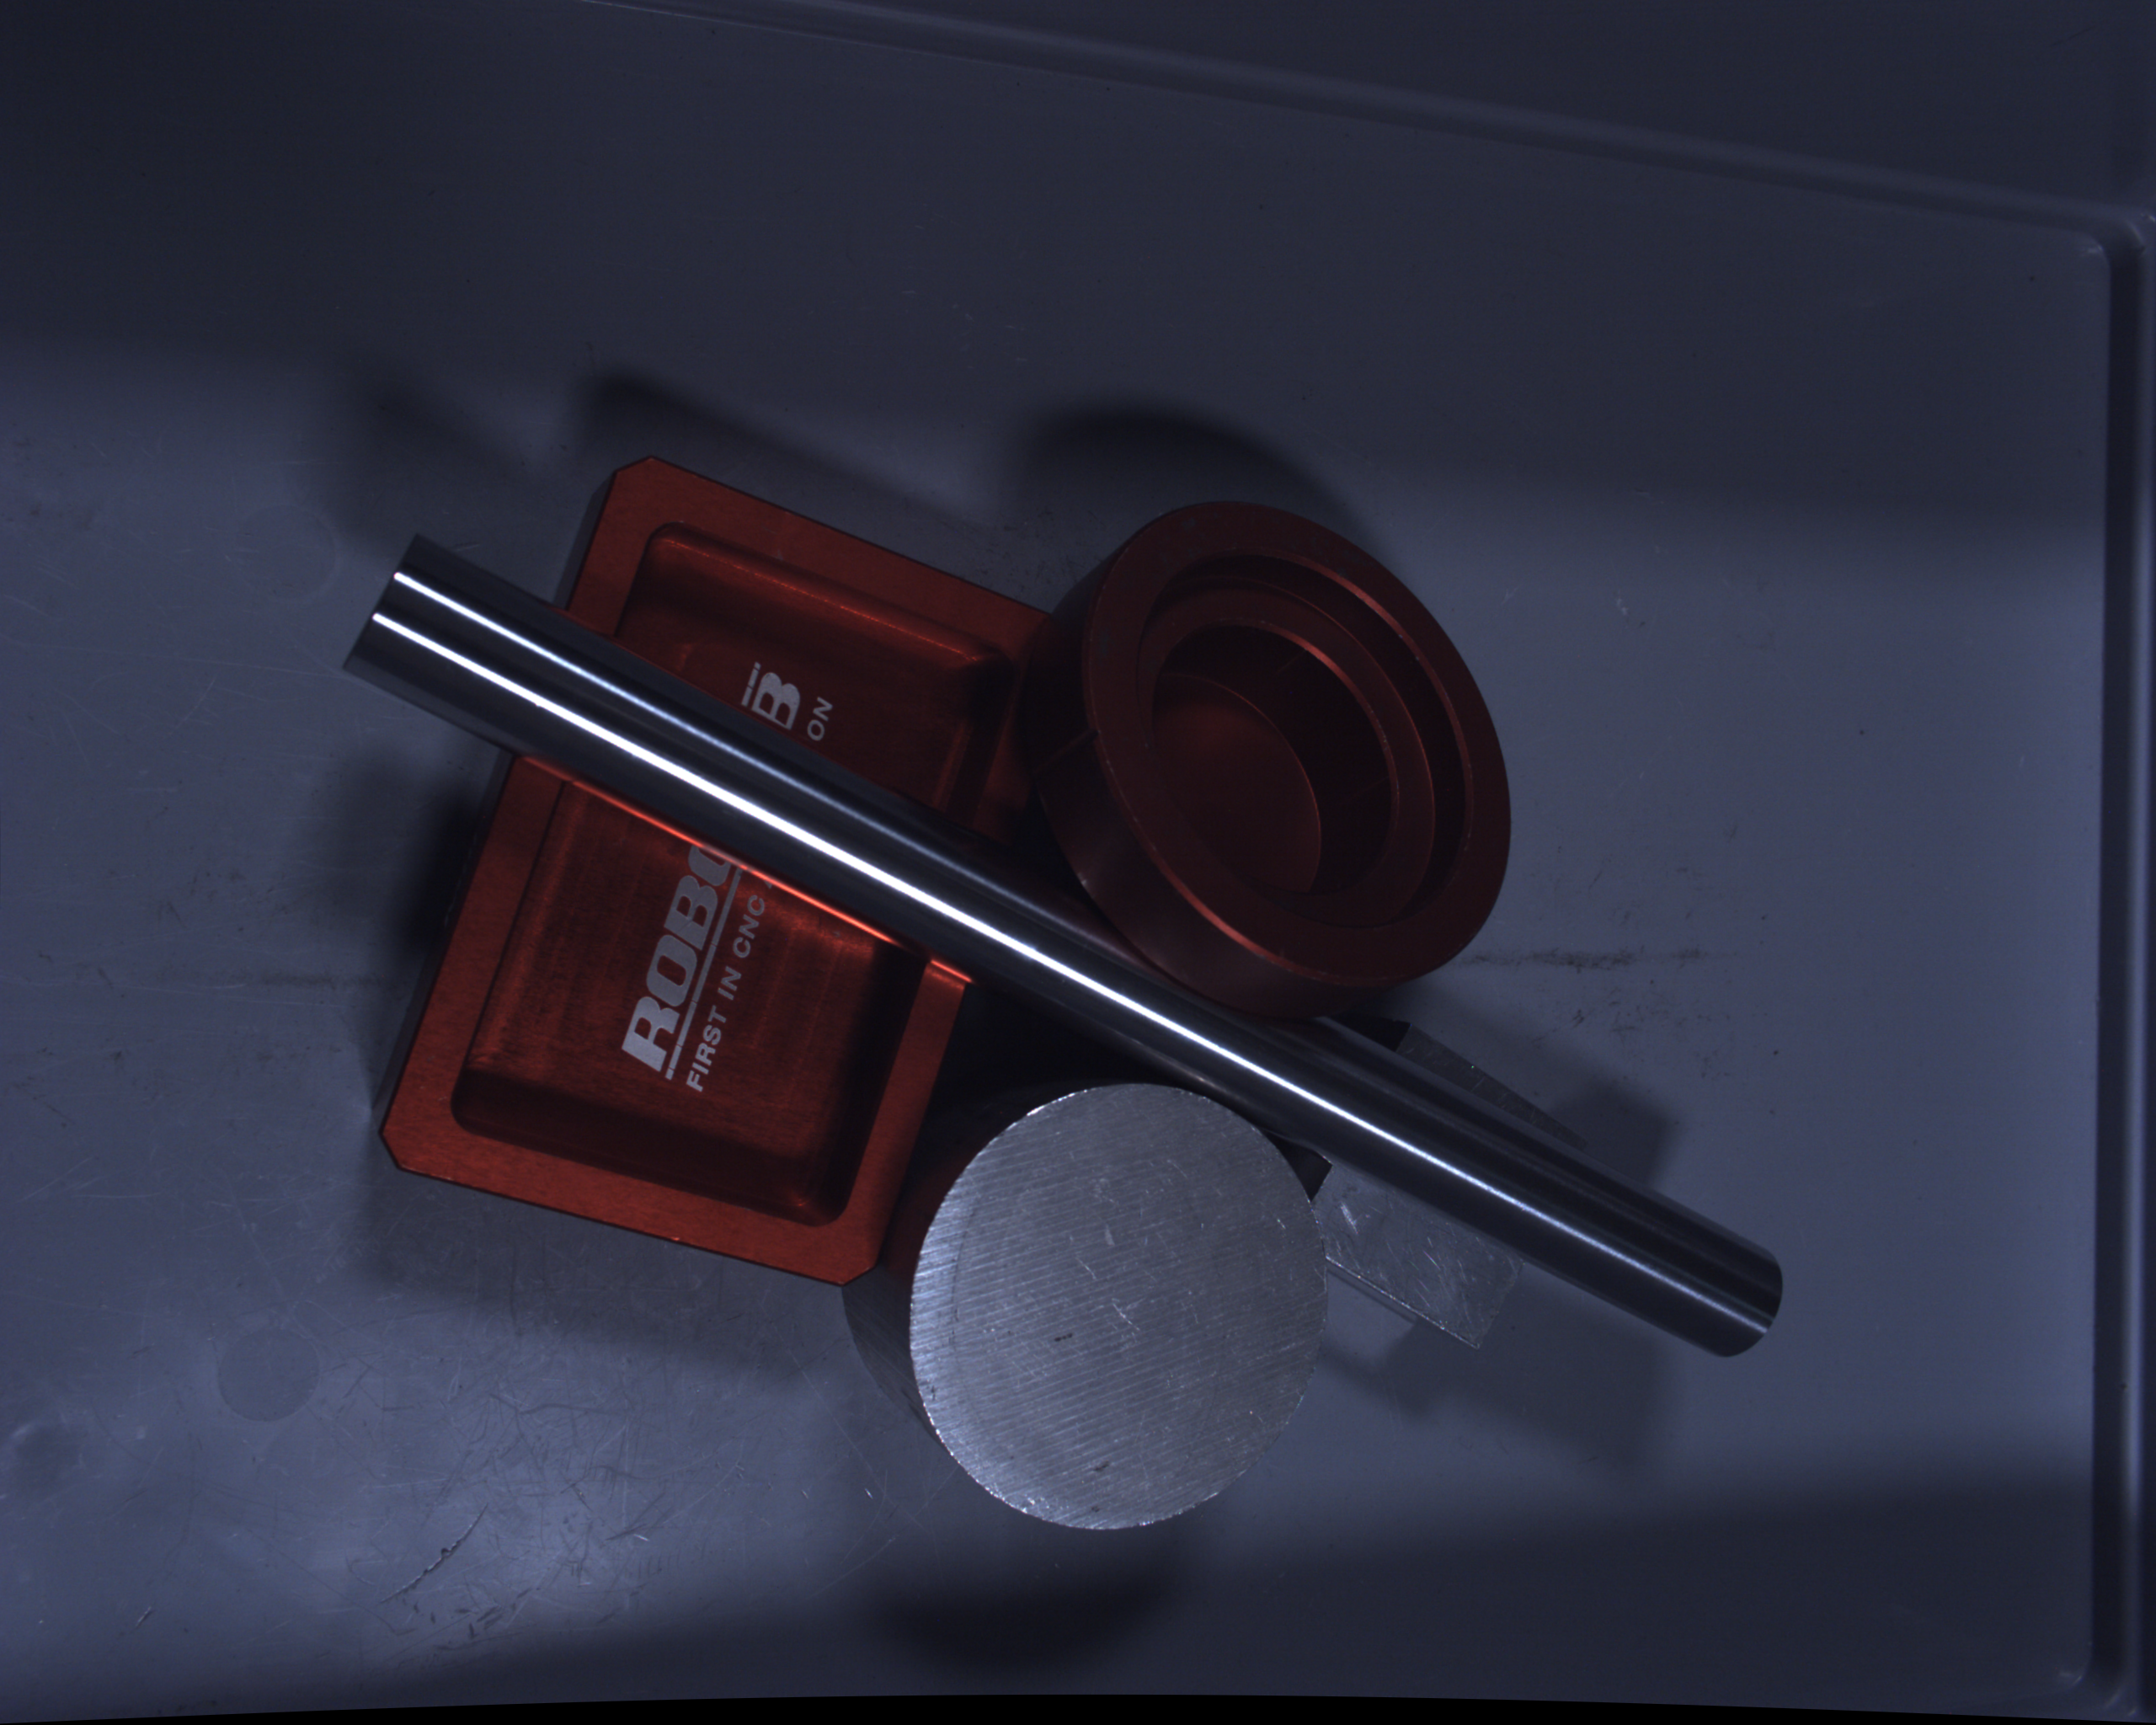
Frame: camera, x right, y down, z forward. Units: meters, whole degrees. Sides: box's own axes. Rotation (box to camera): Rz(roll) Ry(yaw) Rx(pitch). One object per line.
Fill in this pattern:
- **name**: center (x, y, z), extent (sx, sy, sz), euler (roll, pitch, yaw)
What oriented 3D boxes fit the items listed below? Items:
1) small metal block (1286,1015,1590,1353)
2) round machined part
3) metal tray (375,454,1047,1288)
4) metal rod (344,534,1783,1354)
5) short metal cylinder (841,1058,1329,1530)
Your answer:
- **small metal block**: center (0.070, 0.066, 0.436), extent (0.050, 0.025, 0.050), euler (33, 79, -17)
- **round machined part**: center (0.032, -0.016, 0.400), extent (0.099, 0.042, 0.098), euler (15, 61, -28)
- **metal tray**: center (-0.064, 0.003, 0.382), extent (0.091, 0.030, 0.129), euler (20, 83, -19)
- **metal rod**: center (0.014, 0.025, 0.384), extent (0.301, 0.025, 0.025), euler (28, 81, -21)
- **short metal cylinder**: center (0.000, 0.079, 0.396), extent (0.081, 0.050, 0.079), euler (0, 90, -21)
